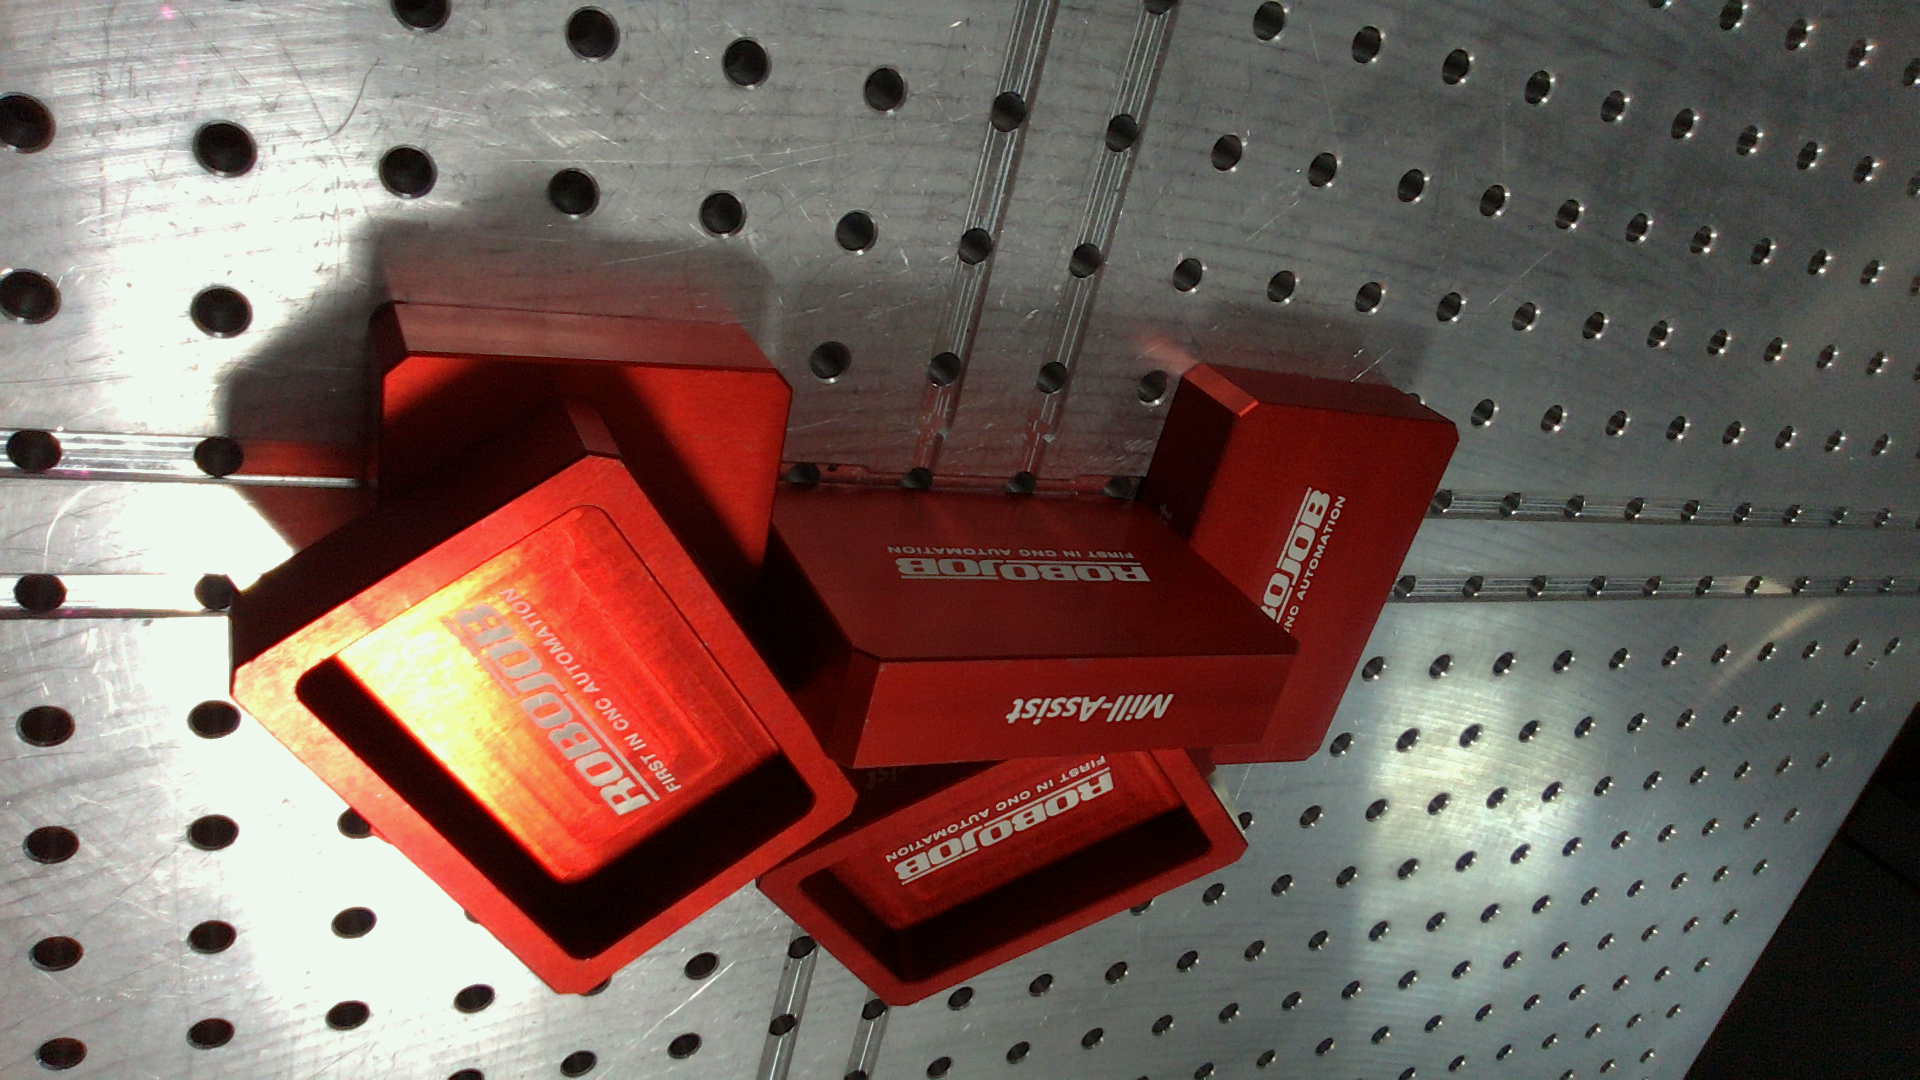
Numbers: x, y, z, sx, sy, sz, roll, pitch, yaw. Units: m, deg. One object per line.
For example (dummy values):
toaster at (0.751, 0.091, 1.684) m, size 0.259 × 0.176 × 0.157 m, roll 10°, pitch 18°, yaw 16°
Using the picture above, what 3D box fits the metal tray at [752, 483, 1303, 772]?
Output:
metal tray at (0.014, 0.020, 0.369) m, size 0.130 × 0.090 × 0.030 m, roll 1°, pitch 118°, yaw -29°

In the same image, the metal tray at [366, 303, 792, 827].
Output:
metal tray at (-0.098, 0.010, 0.342) m, size 0.090 × 0.030 × 0.130 m, roll -1°, pitch 119°, yaw -27°

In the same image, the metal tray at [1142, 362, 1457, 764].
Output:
metal tray at (0.096, 0.012, 0.447) m, size 0.090 × 0.030 × 0.130 m, roll 3°, pitch 117°, yaw -30°

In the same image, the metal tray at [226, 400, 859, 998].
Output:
metal tray at (-0.091, 0.043, 0.325) m, size 0.090 × 0.030 × 0.130 m, roll -33°, pitch 129°, yaw -7°

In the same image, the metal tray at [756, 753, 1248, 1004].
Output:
metal tray at (0.013, 0.090, 0.427) m, size 0.130 × 0.030 × 0.090 m, roll -27°, pitch 130°, yaw 10°
